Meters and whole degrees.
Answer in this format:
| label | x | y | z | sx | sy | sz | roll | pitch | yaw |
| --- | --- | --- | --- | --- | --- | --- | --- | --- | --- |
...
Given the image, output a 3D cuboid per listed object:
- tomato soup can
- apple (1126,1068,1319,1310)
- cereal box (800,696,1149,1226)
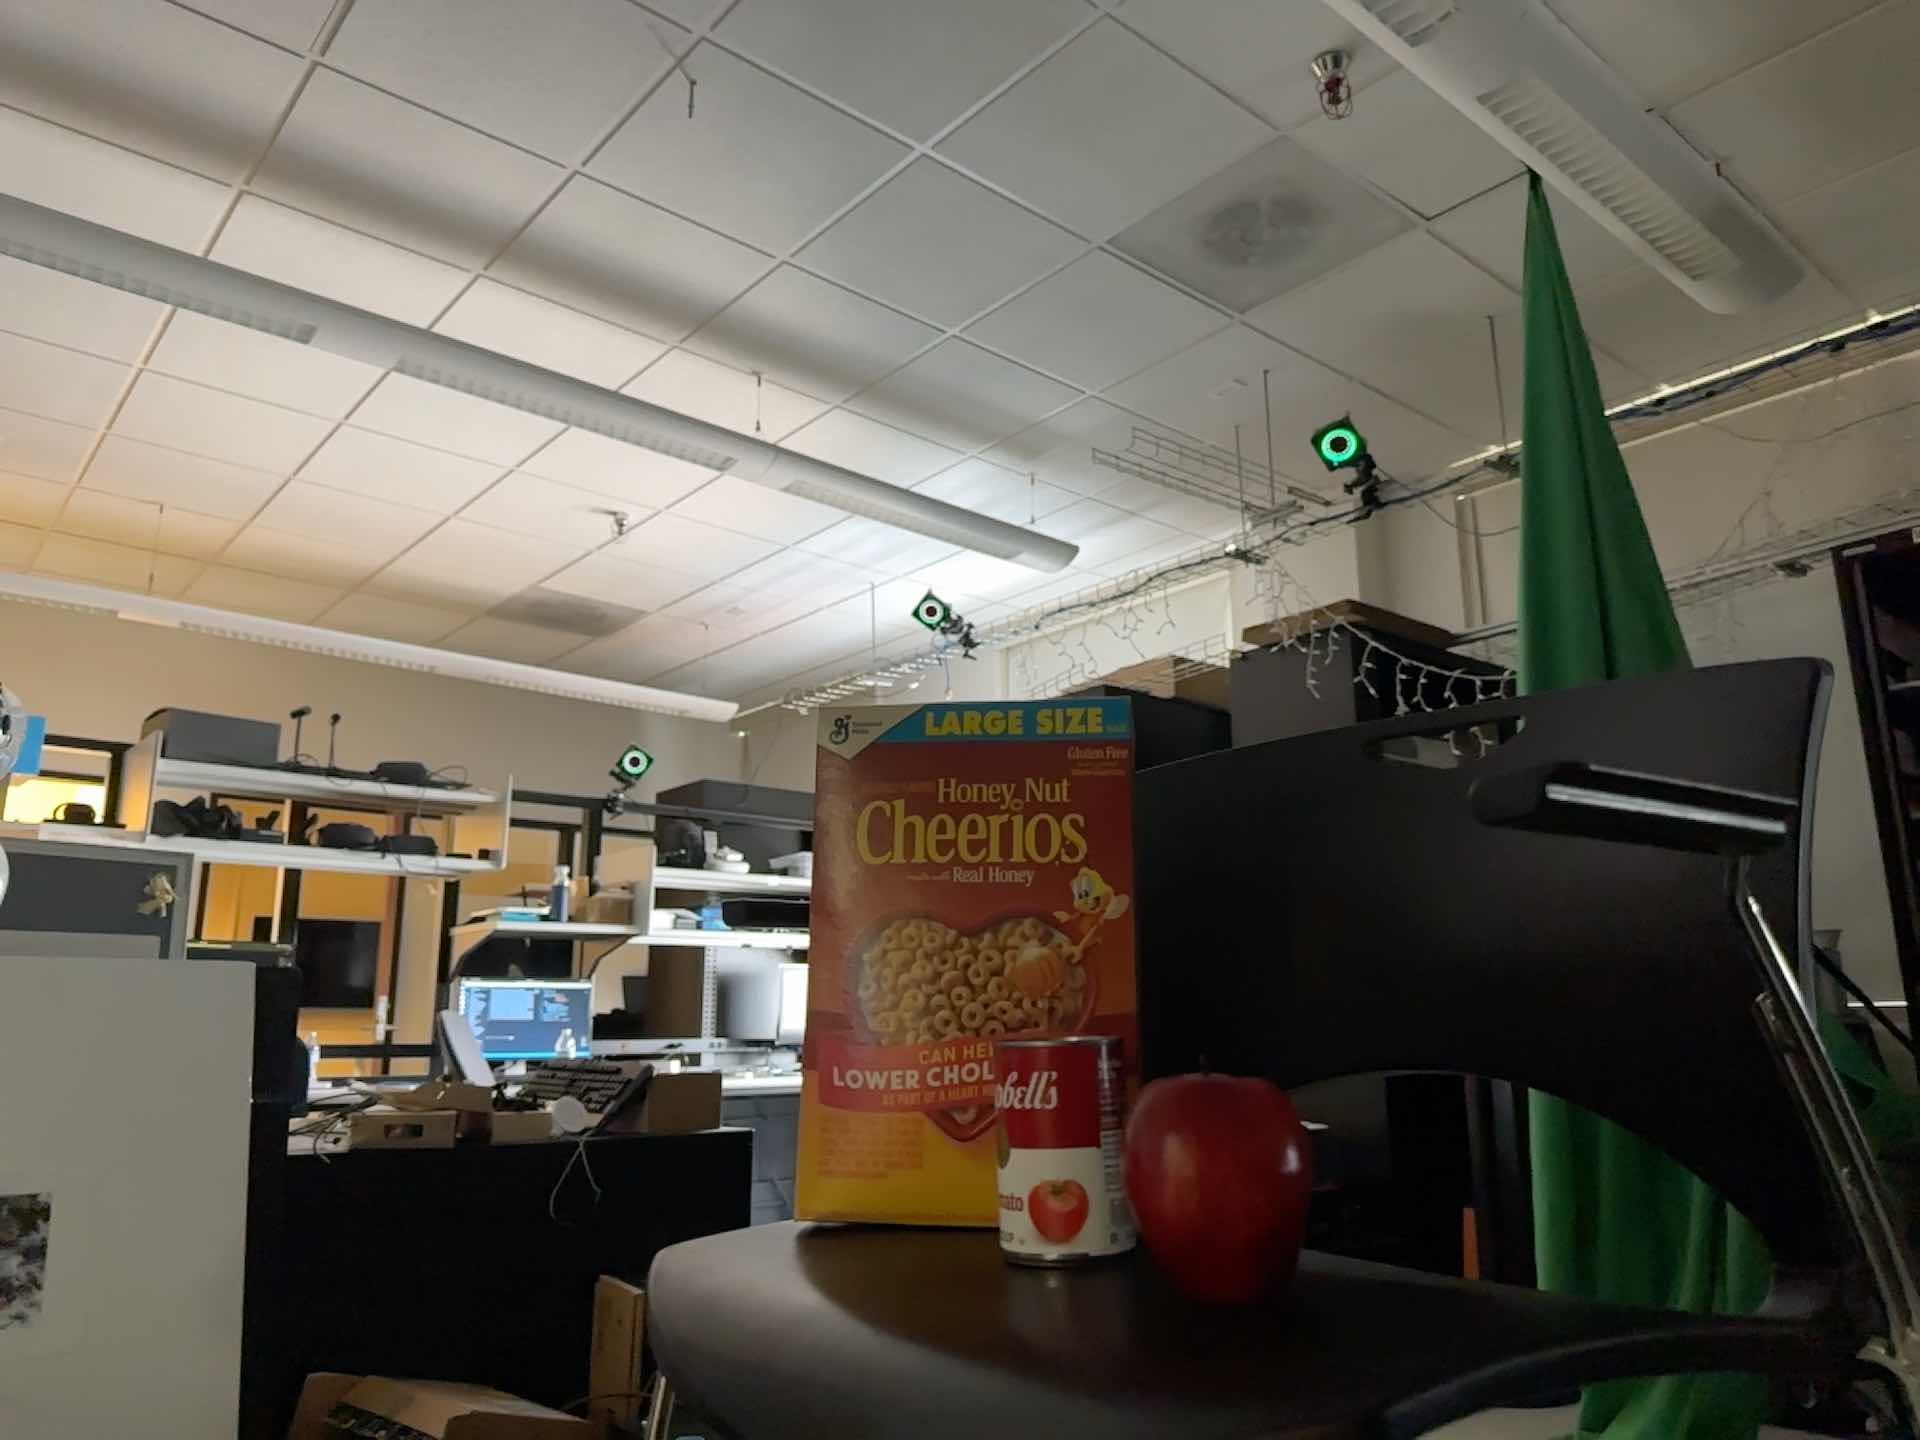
| label | x | y | z | sx | sy | sz | roll | pitch | yaw |
| --- | --- | --- | --- | --- | --- | --- | --- | --- | --- |
| tomato soup can | 0.053 | 0.212 | 0.676 | 0.067 | 0.102 | 0.067 | -1 | -10 | 0 |
| apple | 0.108 | 0.192 | 0.560 | 0.079 | 0.093 | 0.079 | -5 | -9 | -1 |
| cereal box | 0.012 | 0.141 | 0.822 | 0.195 | 0.297 | 0.065 | -1 | -11 | 10 |
